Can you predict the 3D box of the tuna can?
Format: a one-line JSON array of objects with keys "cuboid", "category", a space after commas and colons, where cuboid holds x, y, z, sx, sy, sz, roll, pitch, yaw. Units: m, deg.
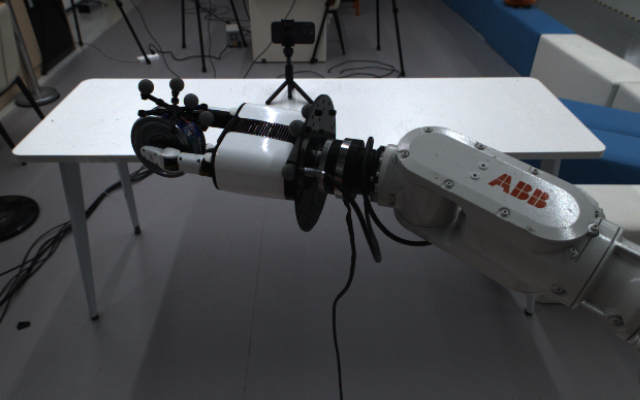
[{"cuboid": [-0.187, -0.071, 0.596, 0.085, 0.085, 0.034, 12, 35, 13], "category": "tuna can"}]
